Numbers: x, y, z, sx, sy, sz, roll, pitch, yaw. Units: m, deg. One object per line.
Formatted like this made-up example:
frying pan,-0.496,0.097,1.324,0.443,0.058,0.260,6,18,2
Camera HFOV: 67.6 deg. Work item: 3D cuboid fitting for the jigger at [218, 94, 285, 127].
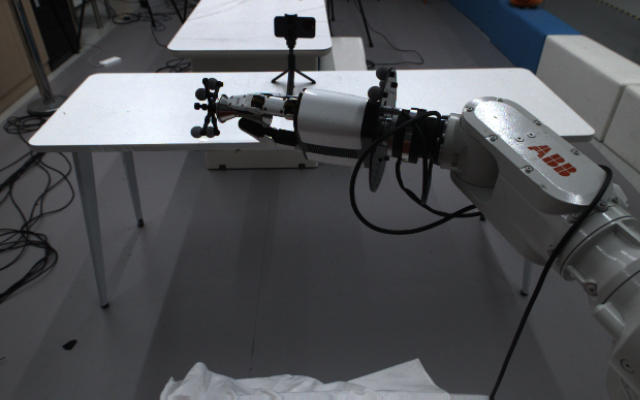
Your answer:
jigger,-0.099,-0.127,0.671,0.071,0.043,0.043,7,35,14
